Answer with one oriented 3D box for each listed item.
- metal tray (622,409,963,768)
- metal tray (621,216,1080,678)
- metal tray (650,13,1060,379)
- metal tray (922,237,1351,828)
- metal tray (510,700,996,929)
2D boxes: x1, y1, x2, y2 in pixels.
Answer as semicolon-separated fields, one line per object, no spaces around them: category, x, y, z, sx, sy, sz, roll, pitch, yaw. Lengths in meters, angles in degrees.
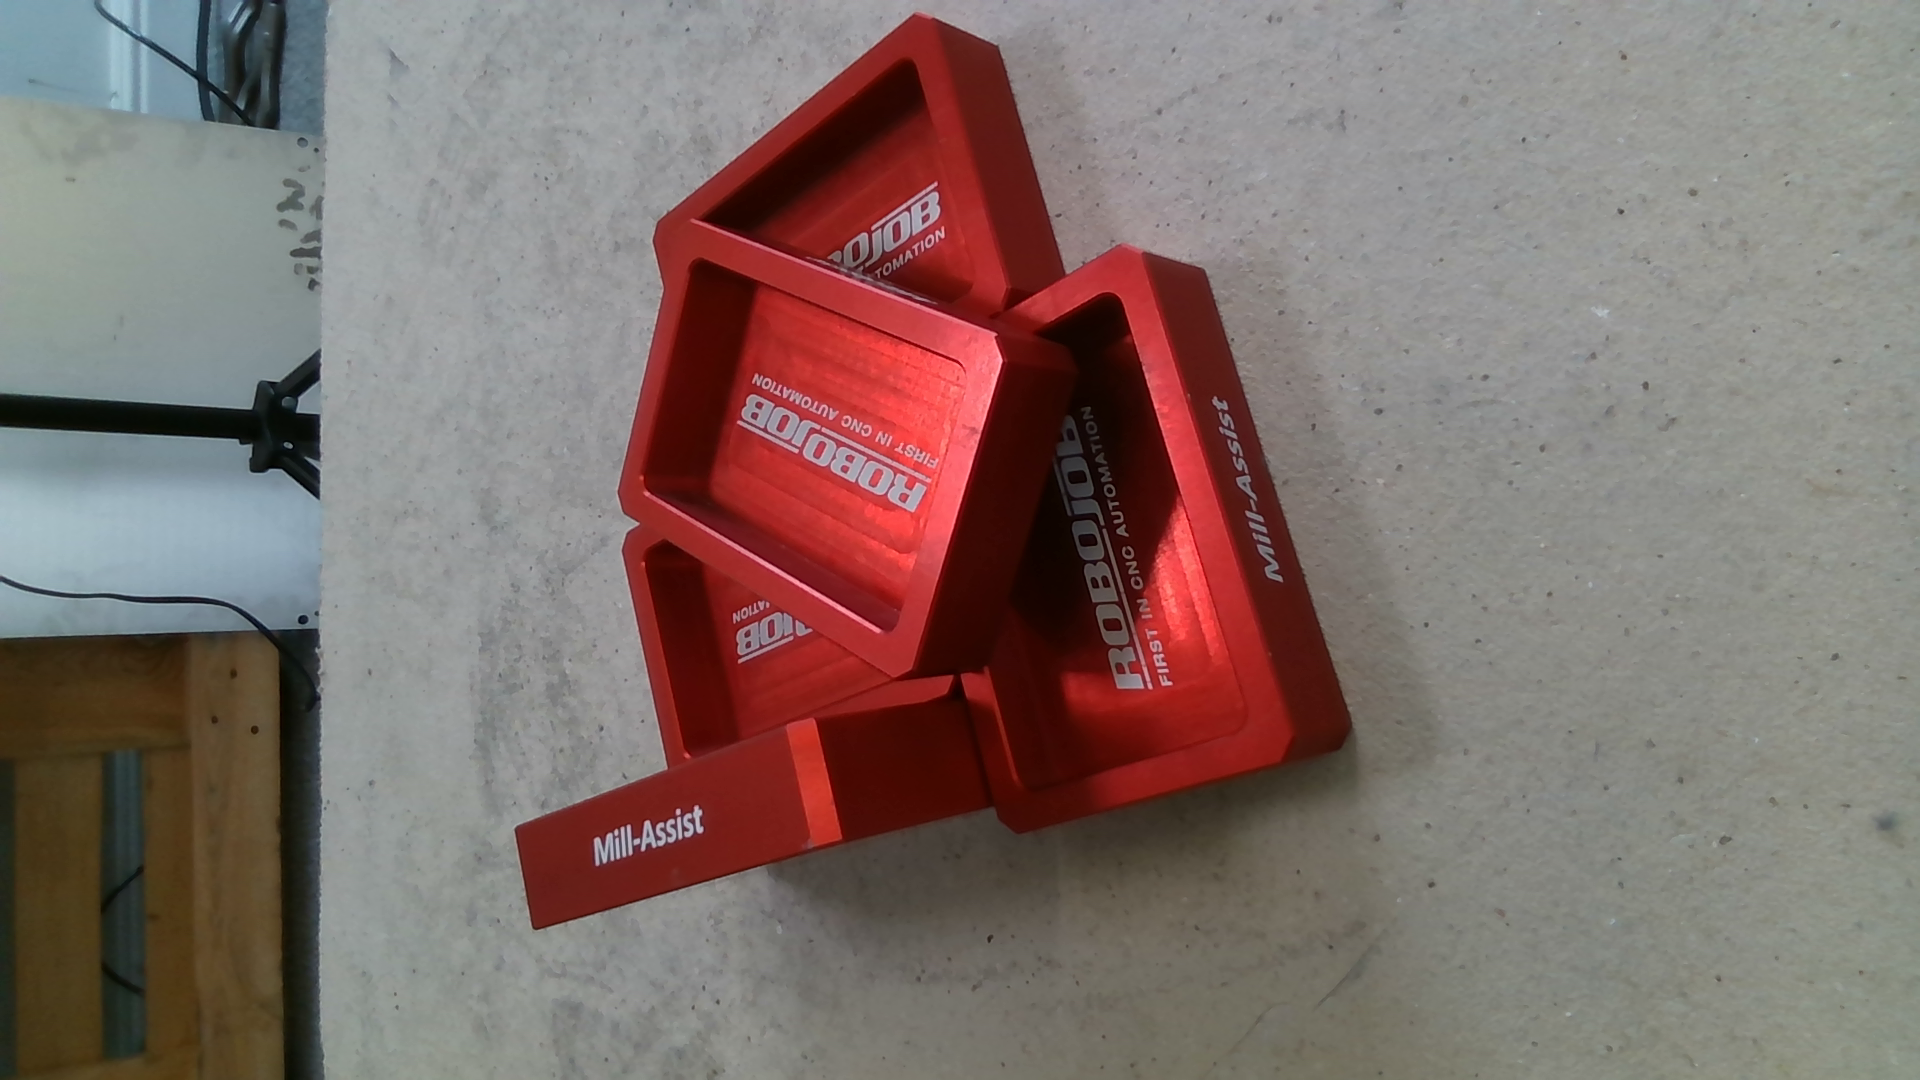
metal tray;-0.049;0.019;0.427;0.130;0.030;0.090;-25;73;39
metal tray;-0.037;-0.029;0.380;0.130;0.030;0.090;28;107;37
metal tray;-0.036;-0.082;0.415;0.130;0.030;0.090;-24;75;37
metal tray;0.037;0.001;0.357;0.090;0.030;0.130;-24;75;38
metal tray;-0.054;0.078;0.392;0.130;0.090;0.030;-24;75;38
